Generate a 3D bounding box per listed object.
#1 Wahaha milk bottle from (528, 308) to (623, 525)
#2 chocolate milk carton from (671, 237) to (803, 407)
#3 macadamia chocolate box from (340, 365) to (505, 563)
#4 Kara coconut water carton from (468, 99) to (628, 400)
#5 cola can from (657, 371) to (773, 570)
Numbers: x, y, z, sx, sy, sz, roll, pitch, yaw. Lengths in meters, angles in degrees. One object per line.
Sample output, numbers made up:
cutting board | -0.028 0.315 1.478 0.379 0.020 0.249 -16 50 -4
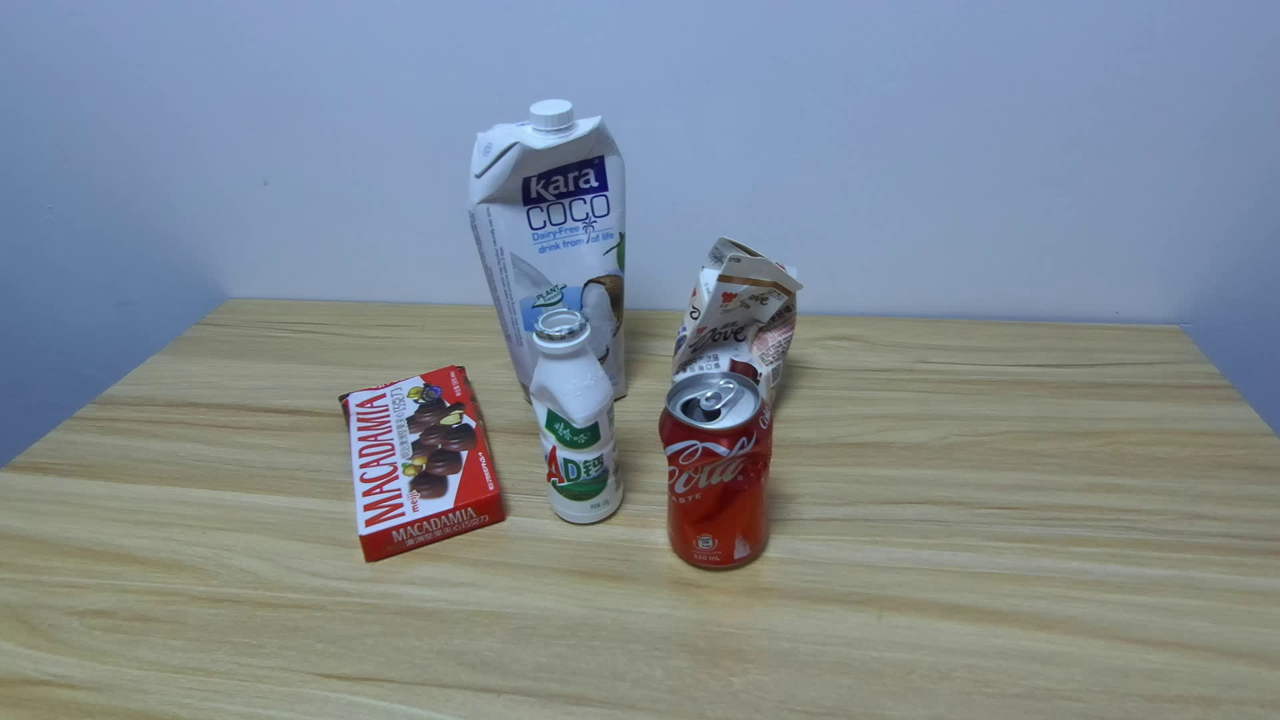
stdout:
Wahaha milk bottle | -0.042 0.038 0.455 0.056 0.148 0.056 -3 35 2
chocolate milk carton | 0.074 -0.022 0.529 0.089 0.155 0.076 11 39 -1
macadamia chocolate box | -0.168 0.067 0.540 0.106 0.028 0.182 -15 35 -17
Kara coconut water carton | -0.062 -0.070 0.537 0.115 0.239 0.069 -22 34 -28
cola can | 0.047 0.066 0.429 0.066 0.117 0.066 0 34 7
